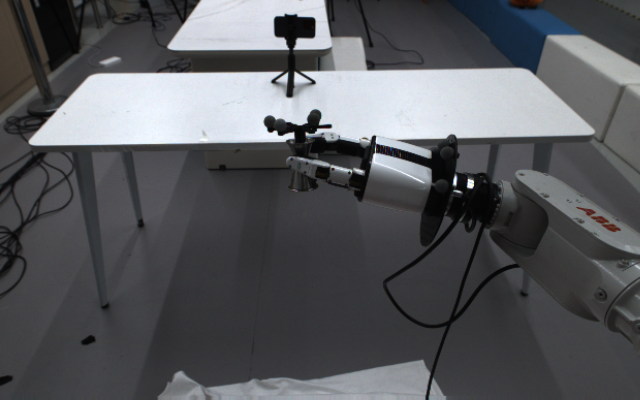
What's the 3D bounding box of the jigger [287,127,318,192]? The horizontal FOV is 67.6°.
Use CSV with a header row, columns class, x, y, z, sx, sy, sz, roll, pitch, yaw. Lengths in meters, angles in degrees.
class,x,y,z,sx,sy,sz,roll,pitch,yaw
jigger,-0.025,-0.050,0.676,0.043,0.071,0.043,-3,19,1
